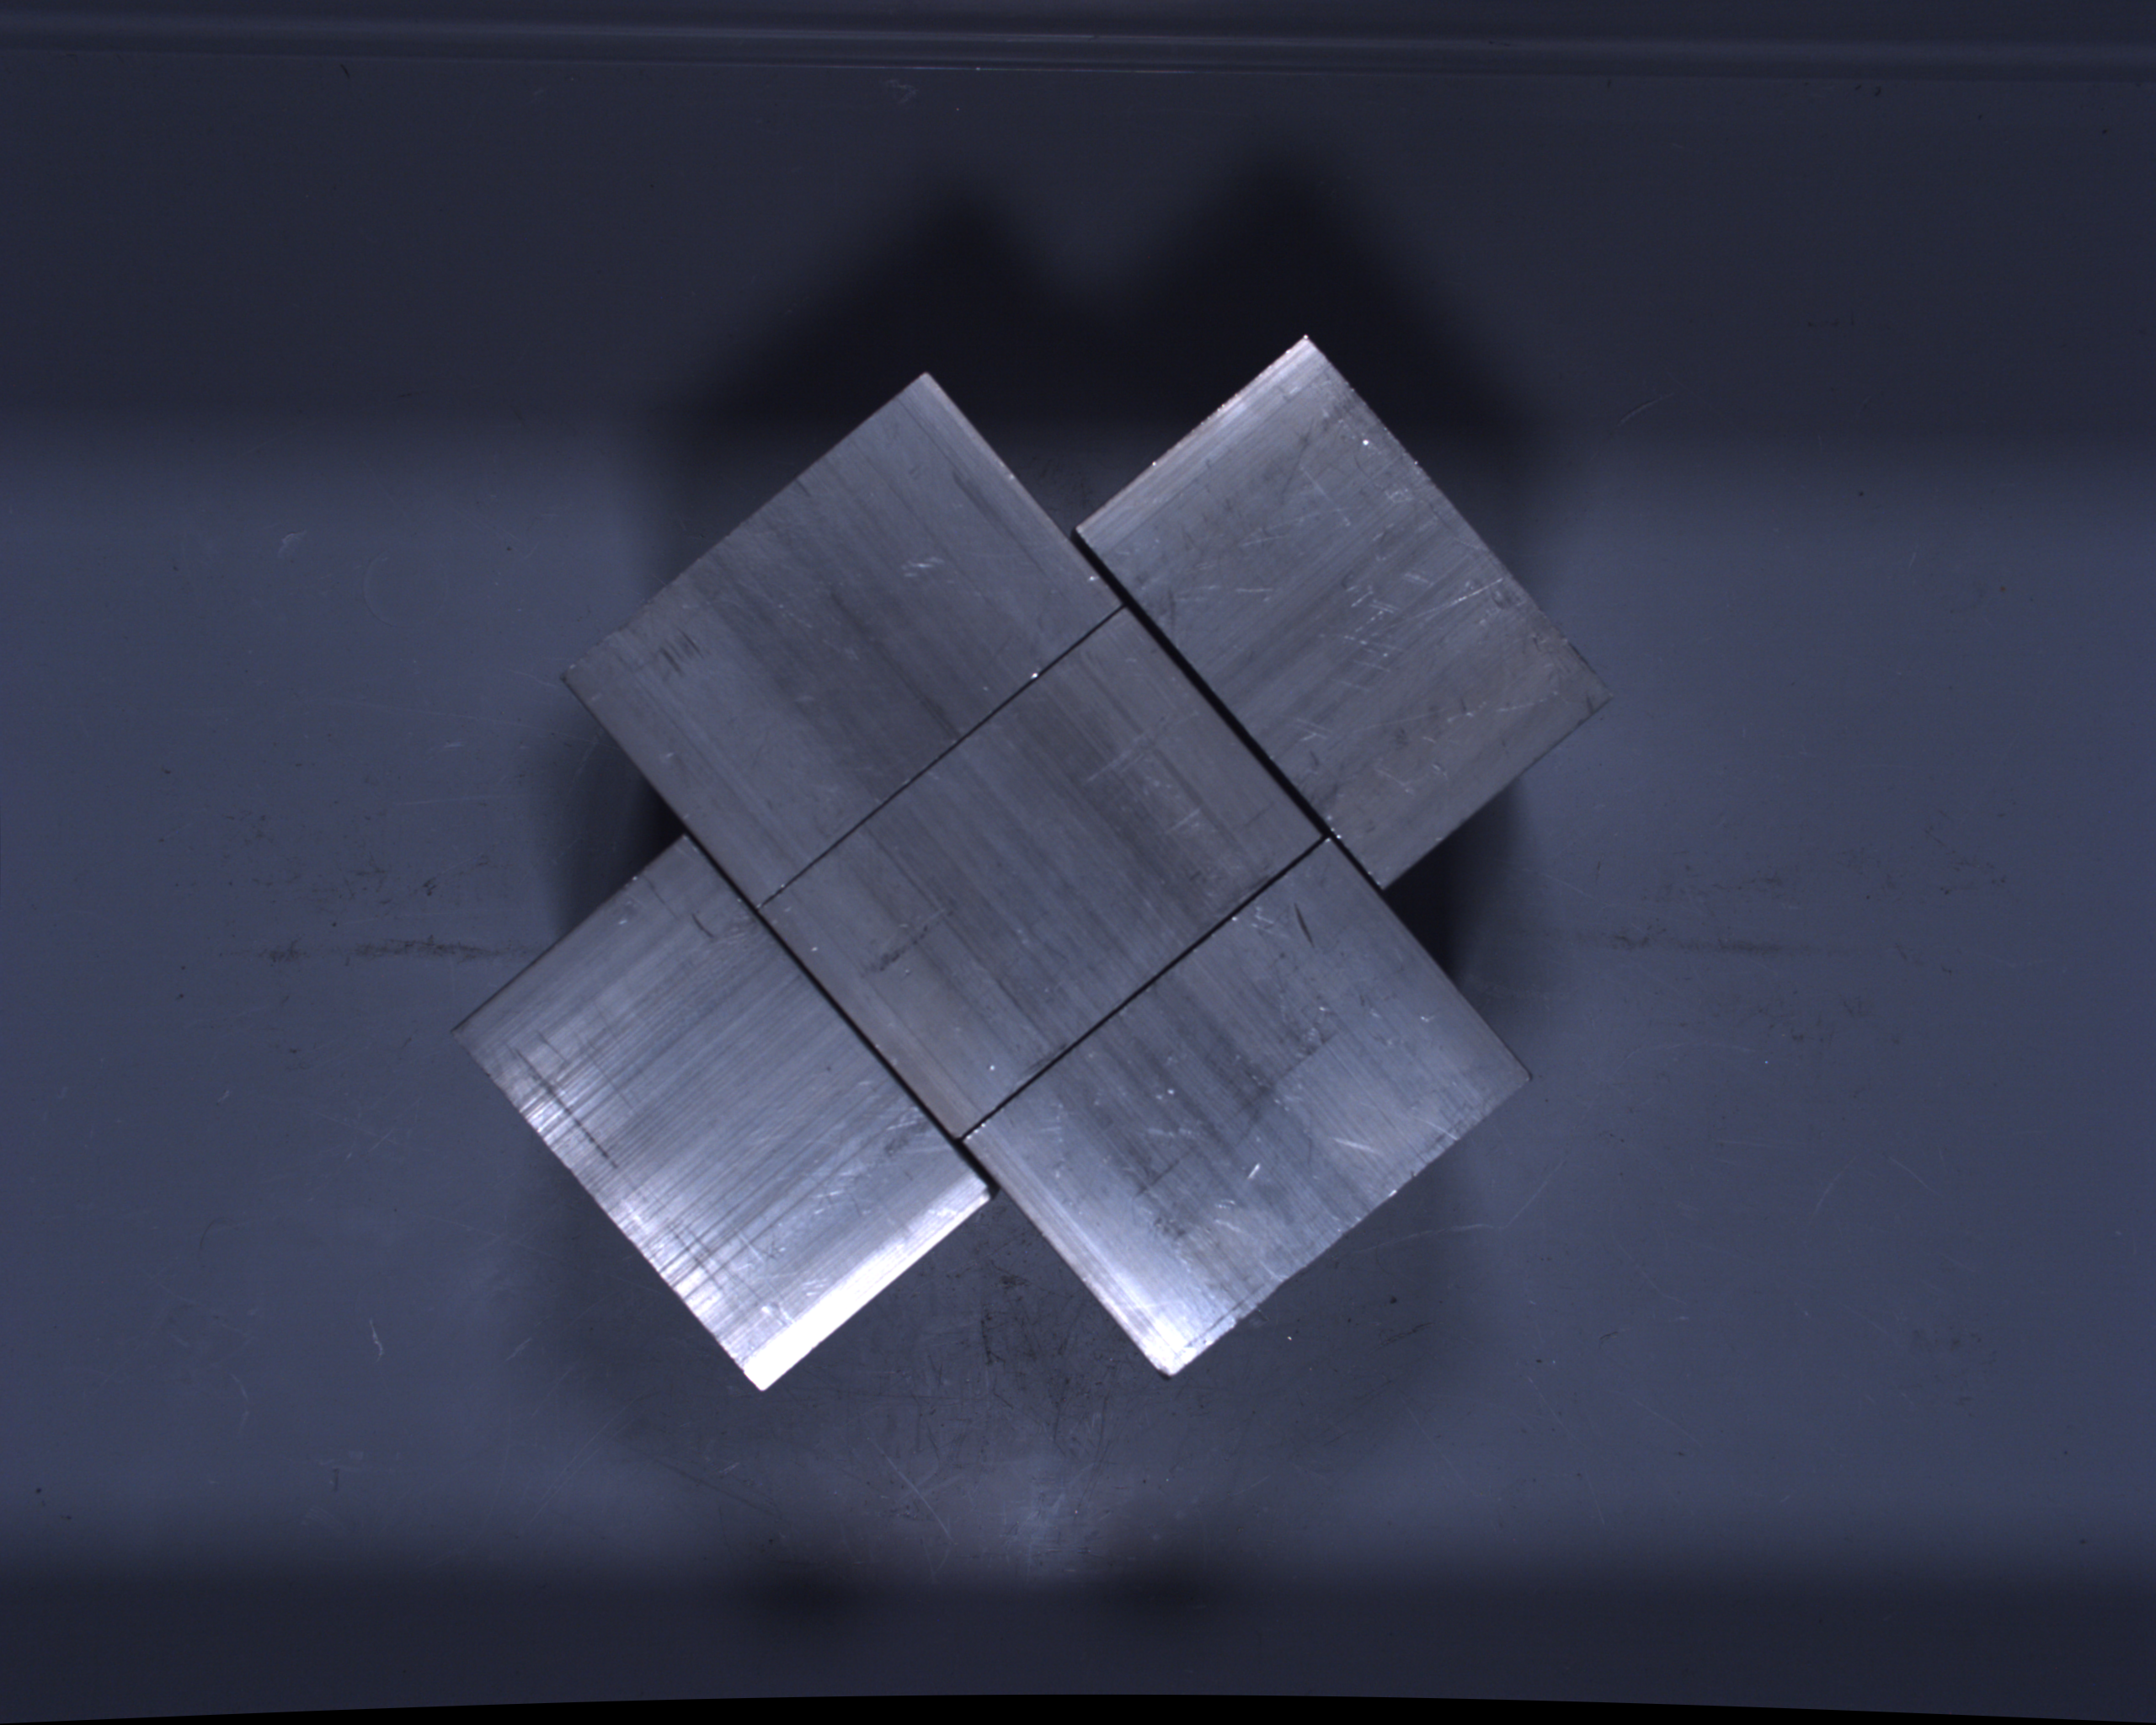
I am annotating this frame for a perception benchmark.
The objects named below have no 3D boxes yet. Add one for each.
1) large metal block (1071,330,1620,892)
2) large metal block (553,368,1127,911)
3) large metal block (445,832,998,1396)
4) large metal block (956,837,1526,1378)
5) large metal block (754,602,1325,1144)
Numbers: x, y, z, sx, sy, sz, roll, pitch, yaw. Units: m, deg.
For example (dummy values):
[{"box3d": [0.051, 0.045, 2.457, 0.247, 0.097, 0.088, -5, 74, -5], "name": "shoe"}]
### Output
[{"box3d": [0.044, -0.042, 0.384, 0.050, 0.080, 0.080, -41, 91, 0], "name": "large metal block"}, {"box3d": [-0.039, -0.037, 0.382, 0.080, 0.080, 0.050, -40, 90, 0], "name": "large metal block"}, {"box3d": [-0.059, 0.041, 0.382, 0.050, 0.080, 0.080, -41, 91, 0], "name": "large metal block"}, {"box3d": [0.027, 0.040, 0.384, 0.080, 0.080, 0.050, -40, 90, 0], "name": "large metal block"}, {"box3d": [-0.006, 0.001, 0.383, 0.080, 0.080, 0.050, -40, 90, 0], "name": "large metal block"}]
